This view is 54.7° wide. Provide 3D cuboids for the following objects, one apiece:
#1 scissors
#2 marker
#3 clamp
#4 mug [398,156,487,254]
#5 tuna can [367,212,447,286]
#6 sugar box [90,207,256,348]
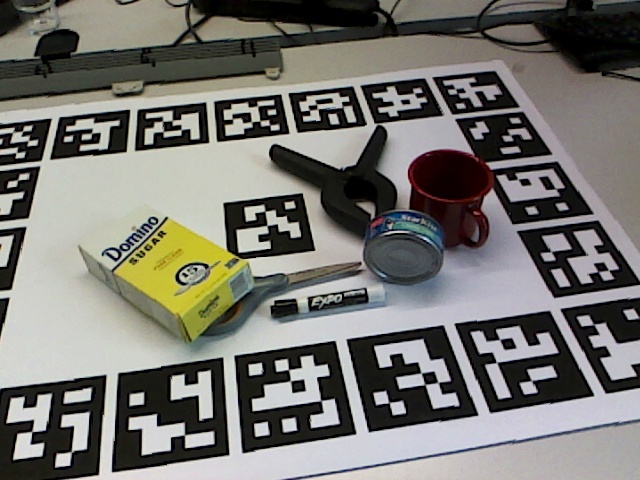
[{"bbox_3d":[-0.052,0.047,0.678,0.202,0.016,0.088,-15,44,-15],"label":"scissors"},{"bbox_3d":[0.000,0.072,0.656,0.121,0.019,0.020,-11,48,-8],"label":"marker"},{"bbox_3d":[0.039,-0.064,0.786,0.165,0.036,0.204,-15,49,-14],"label":"clamp"},{"bbox_3d":[0.143,-0.031,0.712,0.093,0.081,0.118,-29,49,-24],"label":"mug"},{"bbox_3d":[0.094,0.012,0.666,0.086,0.085,0.034,5,47,6],"label":"tuna can"},{"bbox_3d":[-0.162,0.033,0.671,0.177,0.045,0.092,30,53,33],"label":"sugar box"}]
